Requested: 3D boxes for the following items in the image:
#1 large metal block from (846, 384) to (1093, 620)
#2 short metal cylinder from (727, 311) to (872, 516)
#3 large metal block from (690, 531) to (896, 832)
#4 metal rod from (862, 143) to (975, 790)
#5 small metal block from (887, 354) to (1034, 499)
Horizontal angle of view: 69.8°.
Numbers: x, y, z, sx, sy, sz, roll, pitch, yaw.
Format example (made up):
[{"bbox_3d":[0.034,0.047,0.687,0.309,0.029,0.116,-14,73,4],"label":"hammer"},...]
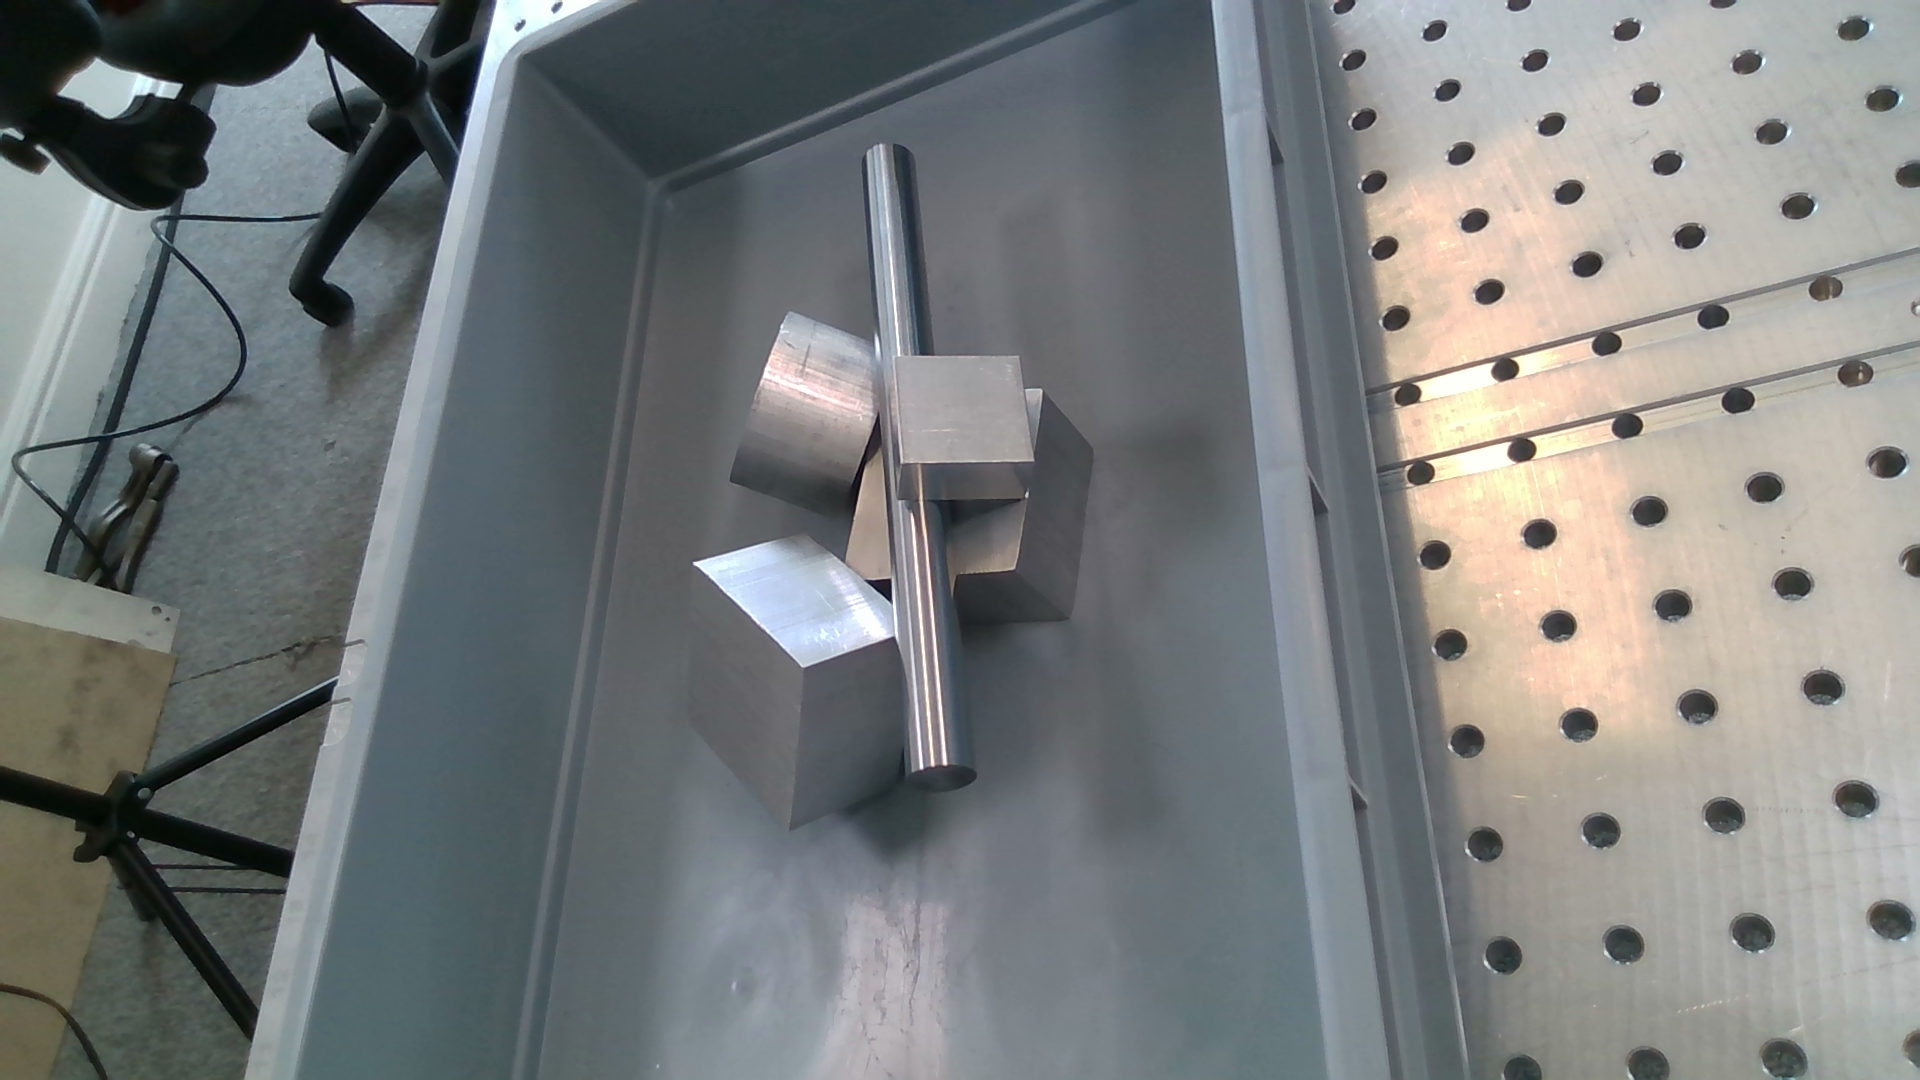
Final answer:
[{"bbox_3d":[0.005,-0.013,0.572,0.080,0.050,0.080,-4,64,30],"label":"large metal block"},{"bbox_3d":[-0.066,-0.055,0.611,0.050,0.080,0.080,20,72,-7],"label":"short metal cylinder"},{"bbox_3d":[-0.066,0.055,0.552,0.080,0.050,0.080,37,131,39],"label":"large metal block"},{"bbox_3d":[-0.020,-0.045,0.556,0.025,0.025,0.299,-20,57,22],"label":"metal rod"},{"bbox_3d":[-0.001,-0.044,0.528,0.050,0.025,0.050,-1,59,-8],"label":"small metal block"}]
